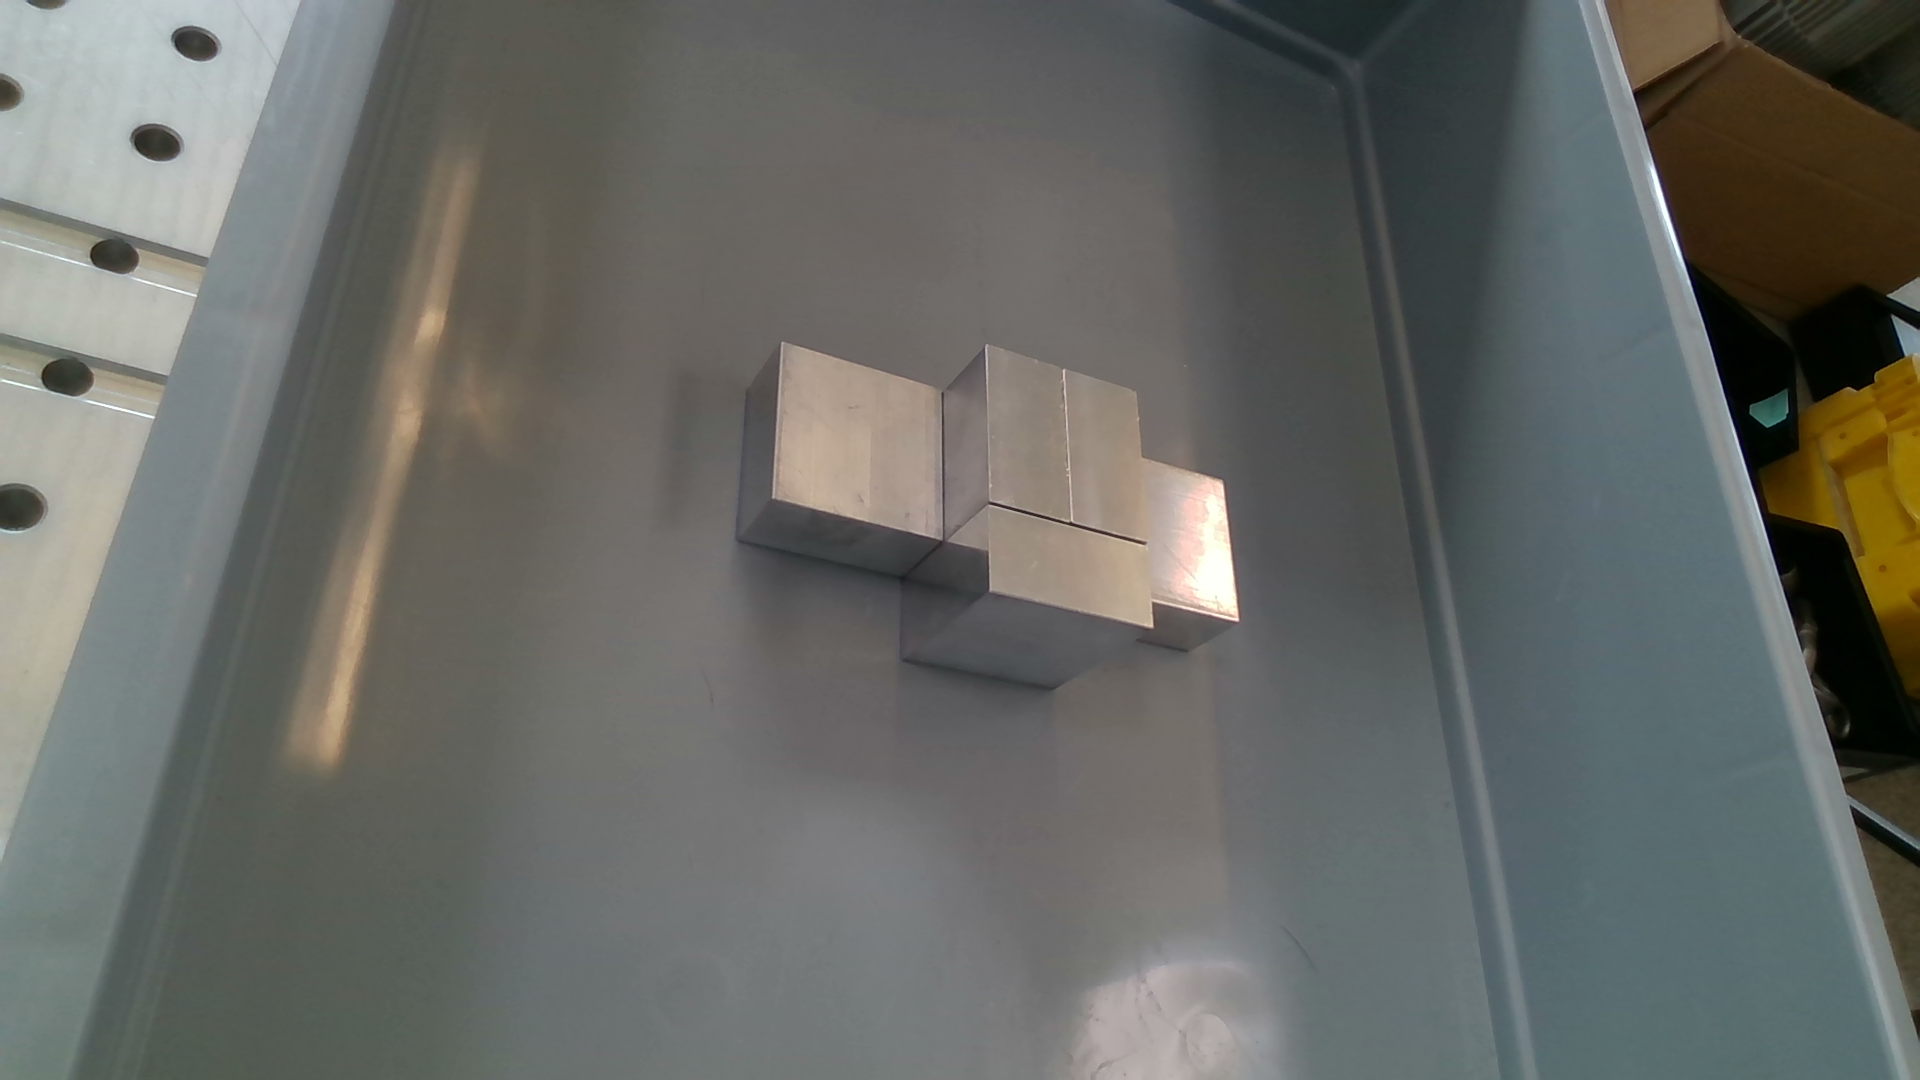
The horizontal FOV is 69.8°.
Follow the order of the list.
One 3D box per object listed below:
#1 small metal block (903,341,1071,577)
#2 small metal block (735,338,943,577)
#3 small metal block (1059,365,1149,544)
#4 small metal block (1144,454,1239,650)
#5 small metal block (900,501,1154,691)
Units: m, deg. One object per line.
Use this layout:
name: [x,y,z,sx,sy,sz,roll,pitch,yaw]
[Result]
small metal block: [0.006,-0.019,0.390,0.025,0.050,0.050,14,59,-25]
small metal block: [-0.033,-0.022,0.383,0.050,0.025,0.050,14,59,-25]
small metal block: [0.028,-0.014,0.400,0.025,0.050,0.050,14,59,-25]
small metal block: [0.056,0.002,0.425,0.050,0.025,0.050,14,59,-25]
small metal block: [0.017,0.017,0.377,0.050,0.050,0.025,14,59,-25]
